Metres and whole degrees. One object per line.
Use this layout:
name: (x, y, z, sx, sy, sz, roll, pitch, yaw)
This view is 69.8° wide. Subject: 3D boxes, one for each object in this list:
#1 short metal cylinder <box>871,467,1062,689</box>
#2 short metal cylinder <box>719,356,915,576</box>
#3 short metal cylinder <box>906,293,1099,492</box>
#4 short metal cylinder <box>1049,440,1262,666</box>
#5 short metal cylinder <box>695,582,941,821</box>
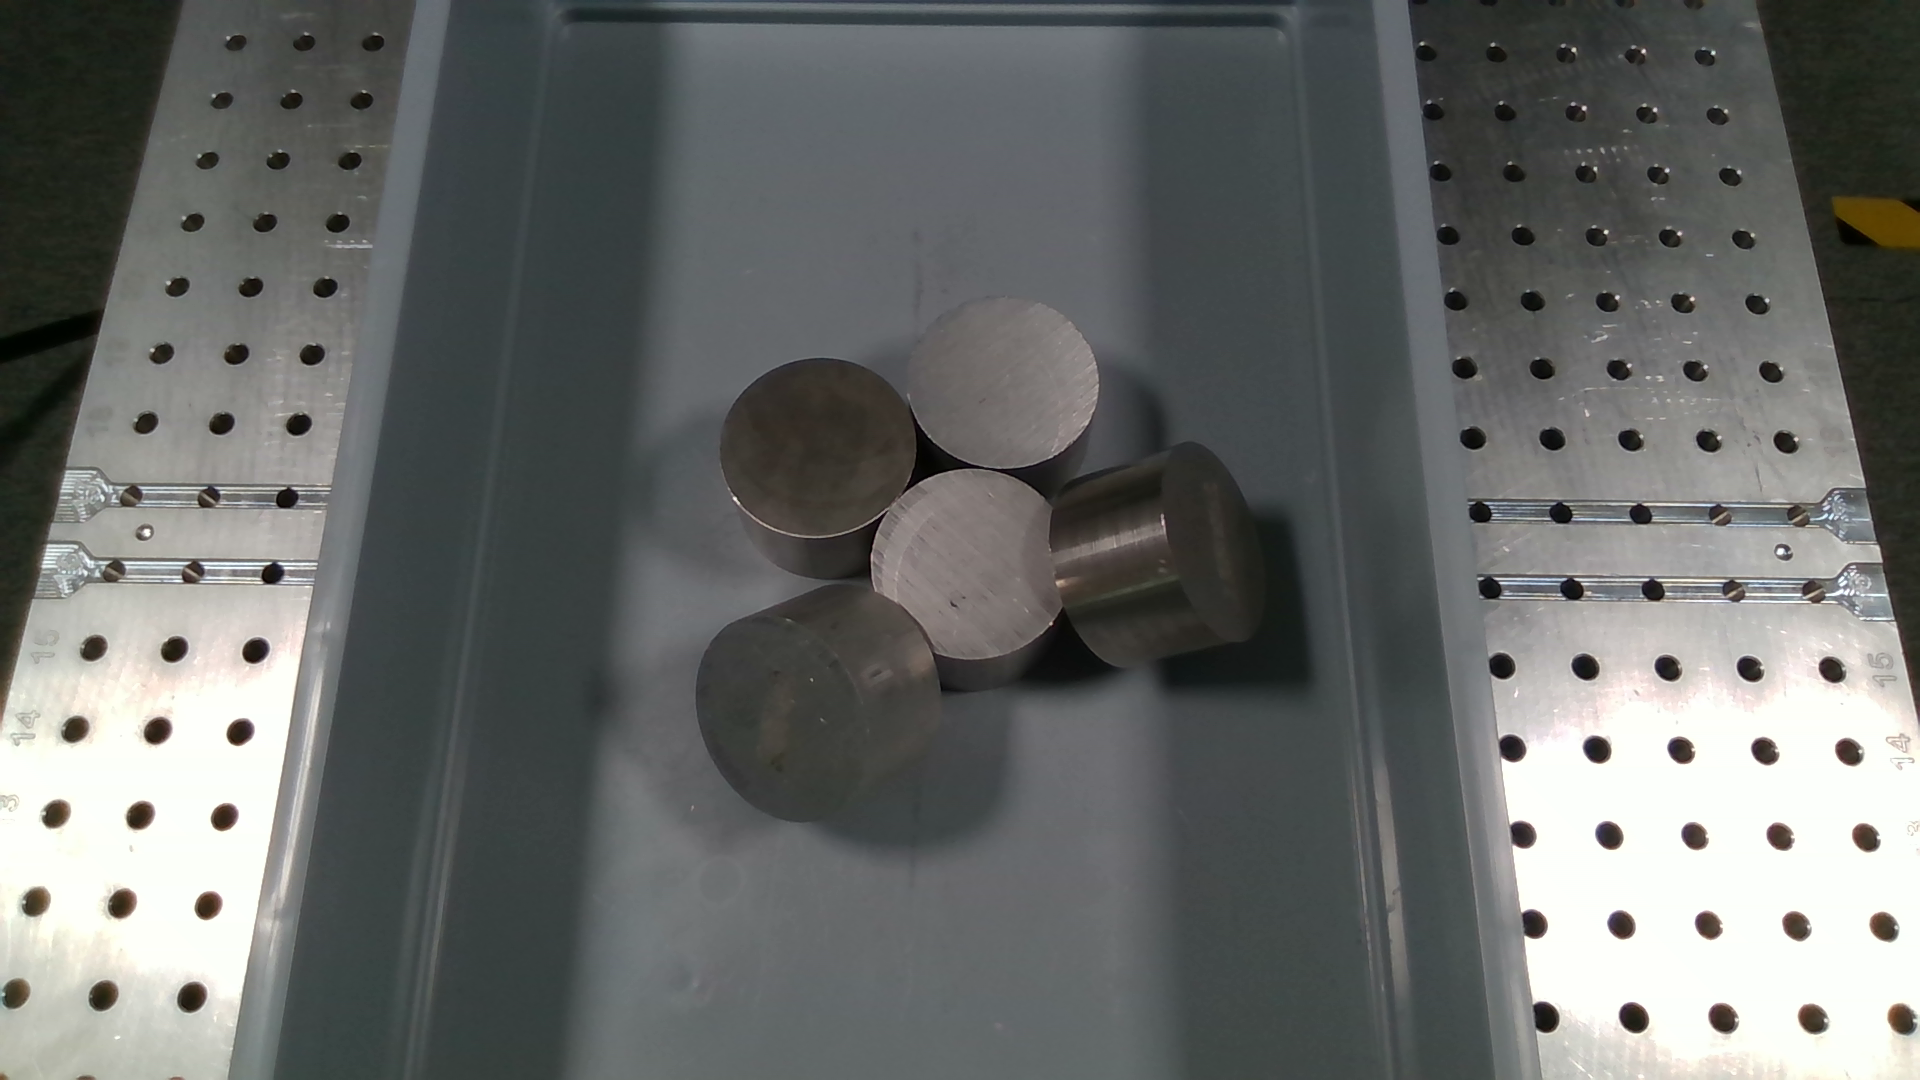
short metal cylinder: (0.005, 0.016, 0.567, 0.080, 0.050, 0.080, 0, 70, 0)
short metal cylinder: (-0.058, -0.030, 0.584, 0.080, 0.050, 0.080, 0, 70, 0)
short metal cylinder: (0.018, -0.059, 0.594, 0.080, 0.050, 0.080, 0, 70, 0)
short metal cylinder: (0.079, 0.006, 0.548, 0.050, 0.080, 0.080, -18, 66, 35)
short metal cylinder: (-0.054, 0.061, 0.530, 0.080, 0.050, 0.080, 8, 106, 29)
